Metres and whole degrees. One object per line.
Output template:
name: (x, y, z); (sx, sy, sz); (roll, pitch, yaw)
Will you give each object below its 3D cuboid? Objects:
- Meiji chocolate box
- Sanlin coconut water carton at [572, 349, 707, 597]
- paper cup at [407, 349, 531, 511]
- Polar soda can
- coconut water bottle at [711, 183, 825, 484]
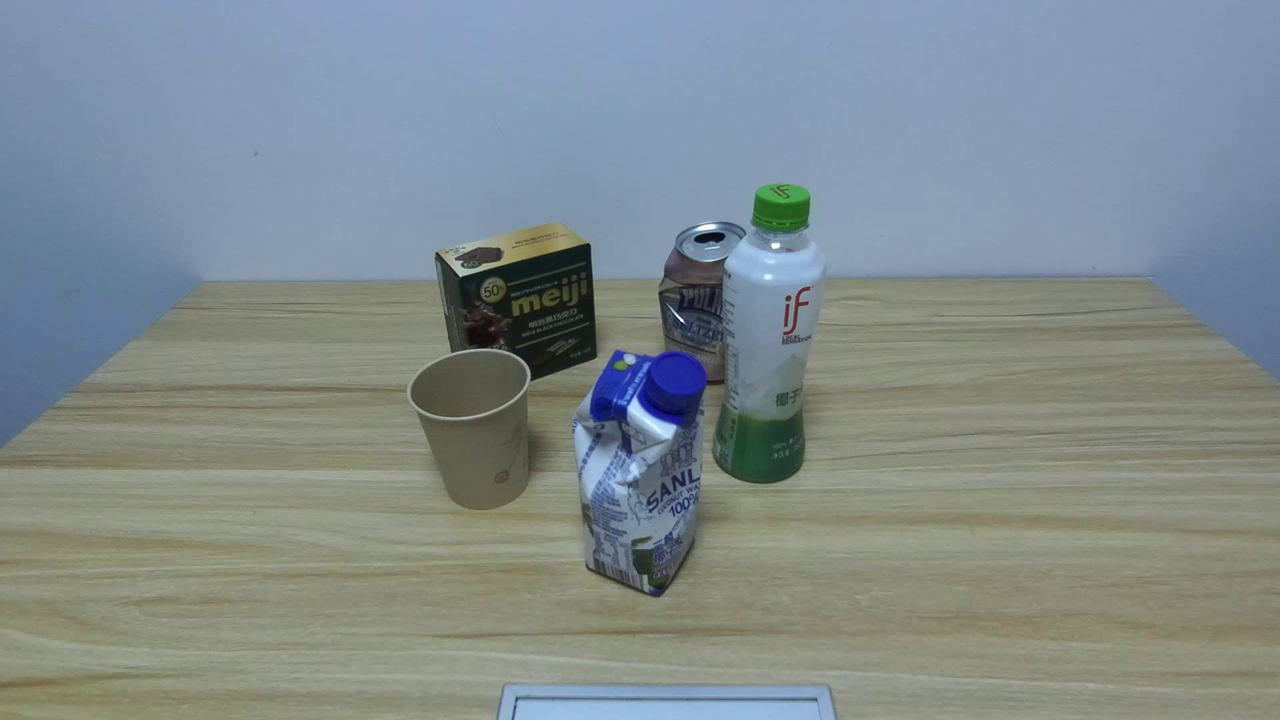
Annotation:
Meiji chocolate box: (-0.094, -0.041, 0.565); (0.110, 0.109, 0.056); (-20, 37, -26)
Sanlin coconut water carton: (0.000, 0.057, 0.379); (0.069, 0.144, 0.061); (16, 38, 24)
paper cup: (-0.102, 0.048, 0.454); (0.075, 0.082, 0.075); (-1, 33, 1)
Polar soda can: (0.052, -0.041, 0.551); (0.071, 0.122, 0.066); (-6, 33, -11)
coconut water bottle: (0.081, -0.013, 0.439); (0.063, 0.189, 0.063); (-1, 33, 1)
